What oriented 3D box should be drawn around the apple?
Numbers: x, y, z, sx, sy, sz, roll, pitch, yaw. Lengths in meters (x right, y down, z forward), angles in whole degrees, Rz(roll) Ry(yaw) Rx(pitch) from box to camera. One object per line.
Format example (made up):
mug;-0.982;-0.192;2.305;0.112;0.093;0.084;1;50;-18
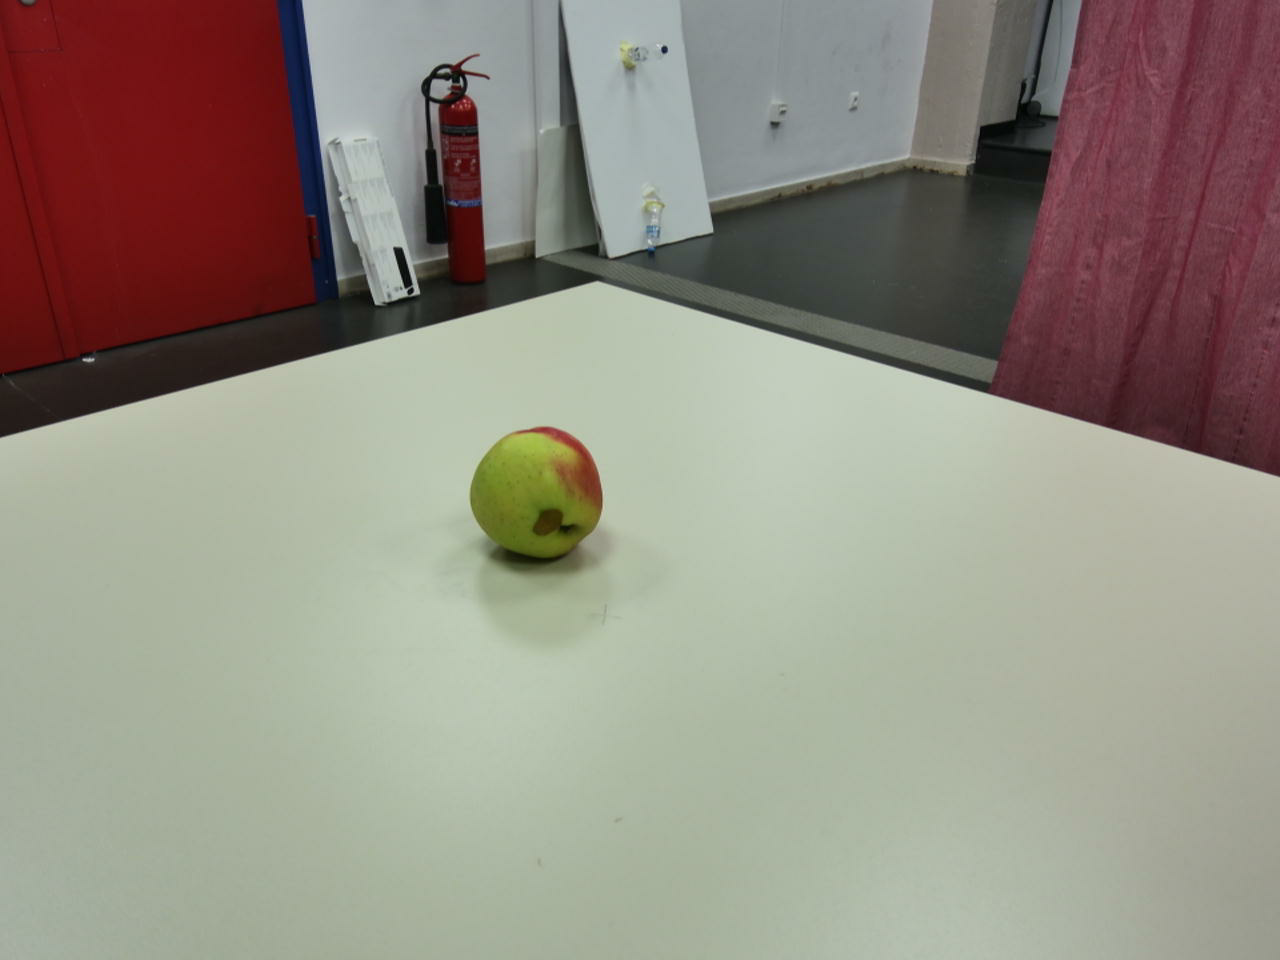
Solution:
apple;-0.058;0.006;0.579;0.075;0.074;0.075;11;27;20
